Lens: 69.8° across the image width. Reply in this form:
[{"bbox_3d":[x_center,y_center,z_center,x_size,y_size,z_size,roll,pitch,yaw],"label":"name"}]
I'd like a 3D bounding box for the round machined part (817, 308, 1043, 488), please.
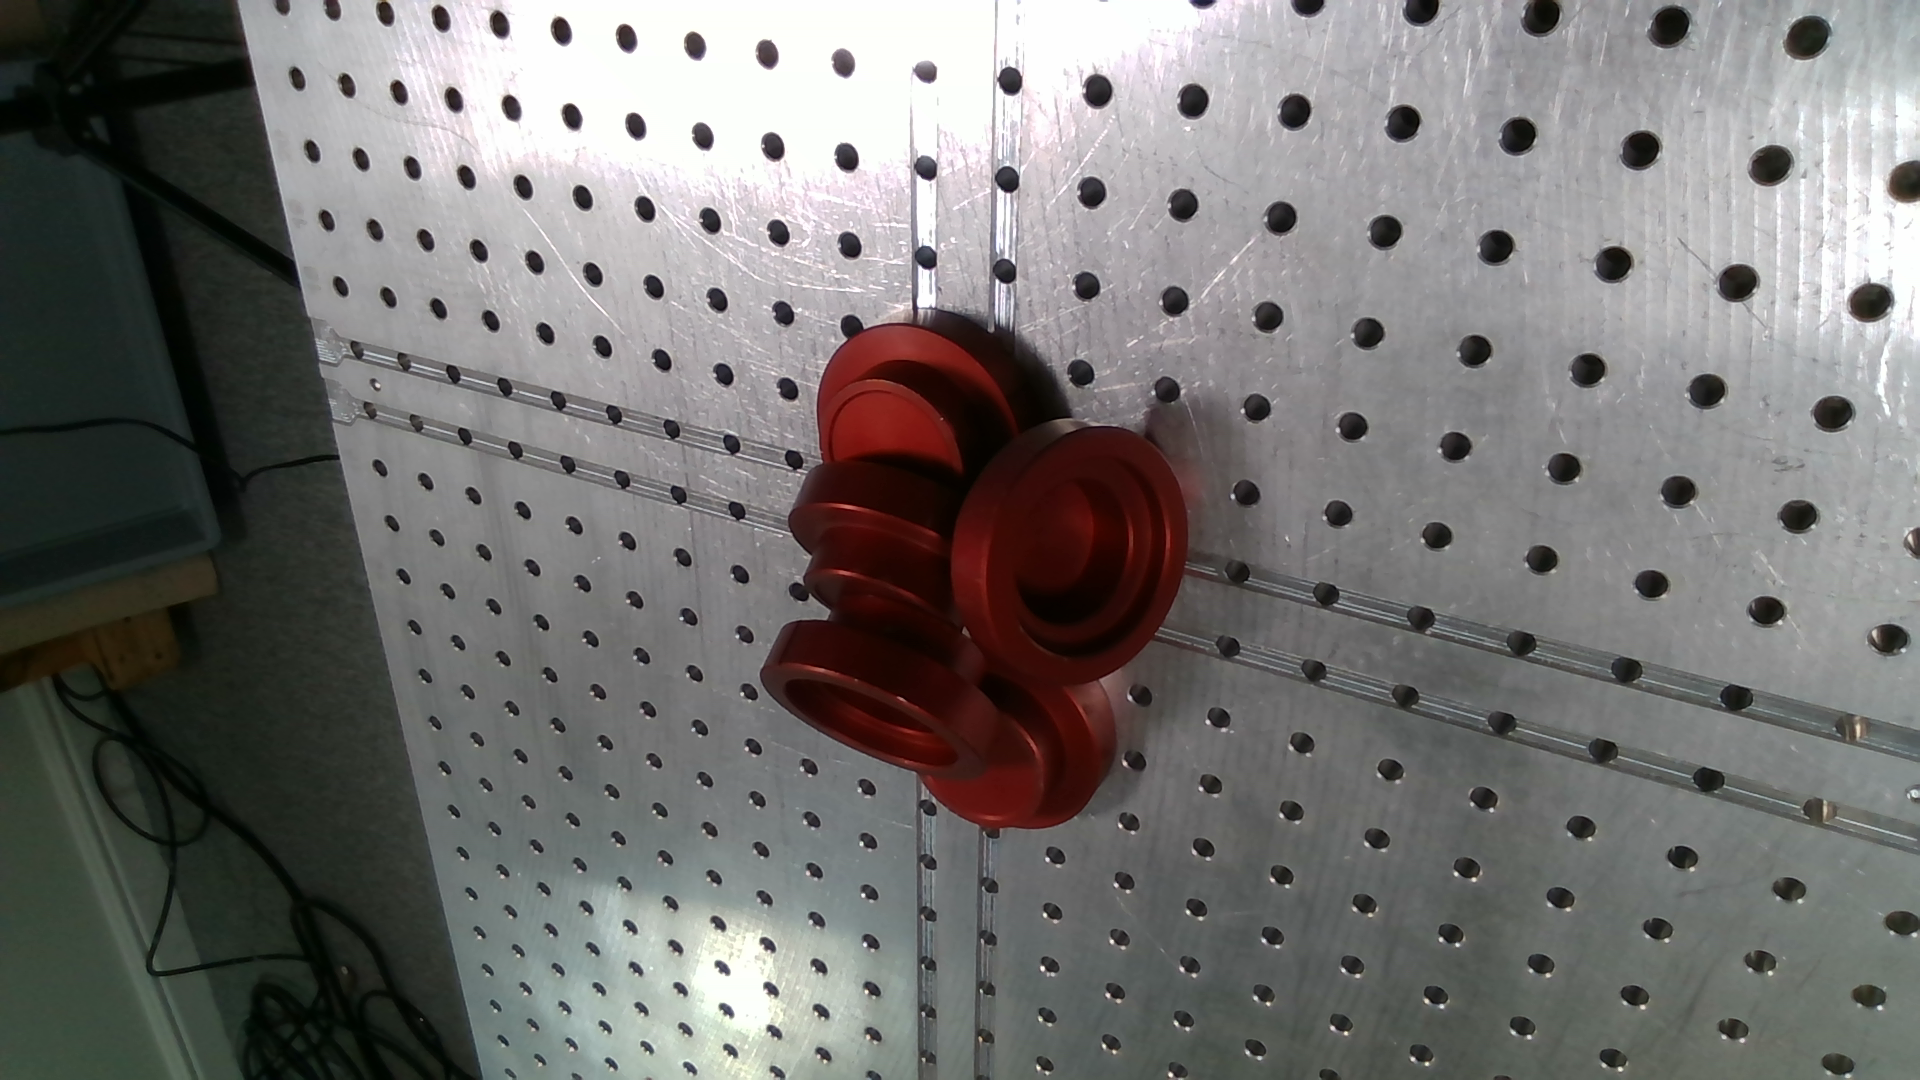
[{"bbox_3d":[-0.018,-0.042,0.560,0.098,0.042,0.098,14,122,25],"label":"round machined part"}]

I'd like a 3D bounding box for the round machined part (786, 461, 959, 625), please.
[{"bbox_3d":[-0.026,0.011,0.563,0.098,0.042,0.098,18,159,7],"label":"round machined part"}]

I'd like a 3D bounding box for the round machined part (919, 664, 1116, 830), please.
[{"bbox_3d":[0.016,0.088,0.610,0.098,0.042,0.098,14,122,25],"label":"round machined part"}]

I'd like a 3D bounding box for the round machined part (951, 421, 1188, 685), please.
[{"bbox_3d":[0.036,0.002,0.521,0.042,0.098,0.098,20,128,53],"label":"round machined part"}]

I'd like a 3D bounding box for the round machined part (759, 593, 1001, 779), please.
[{"bbox_3d":[-0.028,0.057,0.559,0.098,0.042,0.098,20,156,9],"label":"round machined part"}]
